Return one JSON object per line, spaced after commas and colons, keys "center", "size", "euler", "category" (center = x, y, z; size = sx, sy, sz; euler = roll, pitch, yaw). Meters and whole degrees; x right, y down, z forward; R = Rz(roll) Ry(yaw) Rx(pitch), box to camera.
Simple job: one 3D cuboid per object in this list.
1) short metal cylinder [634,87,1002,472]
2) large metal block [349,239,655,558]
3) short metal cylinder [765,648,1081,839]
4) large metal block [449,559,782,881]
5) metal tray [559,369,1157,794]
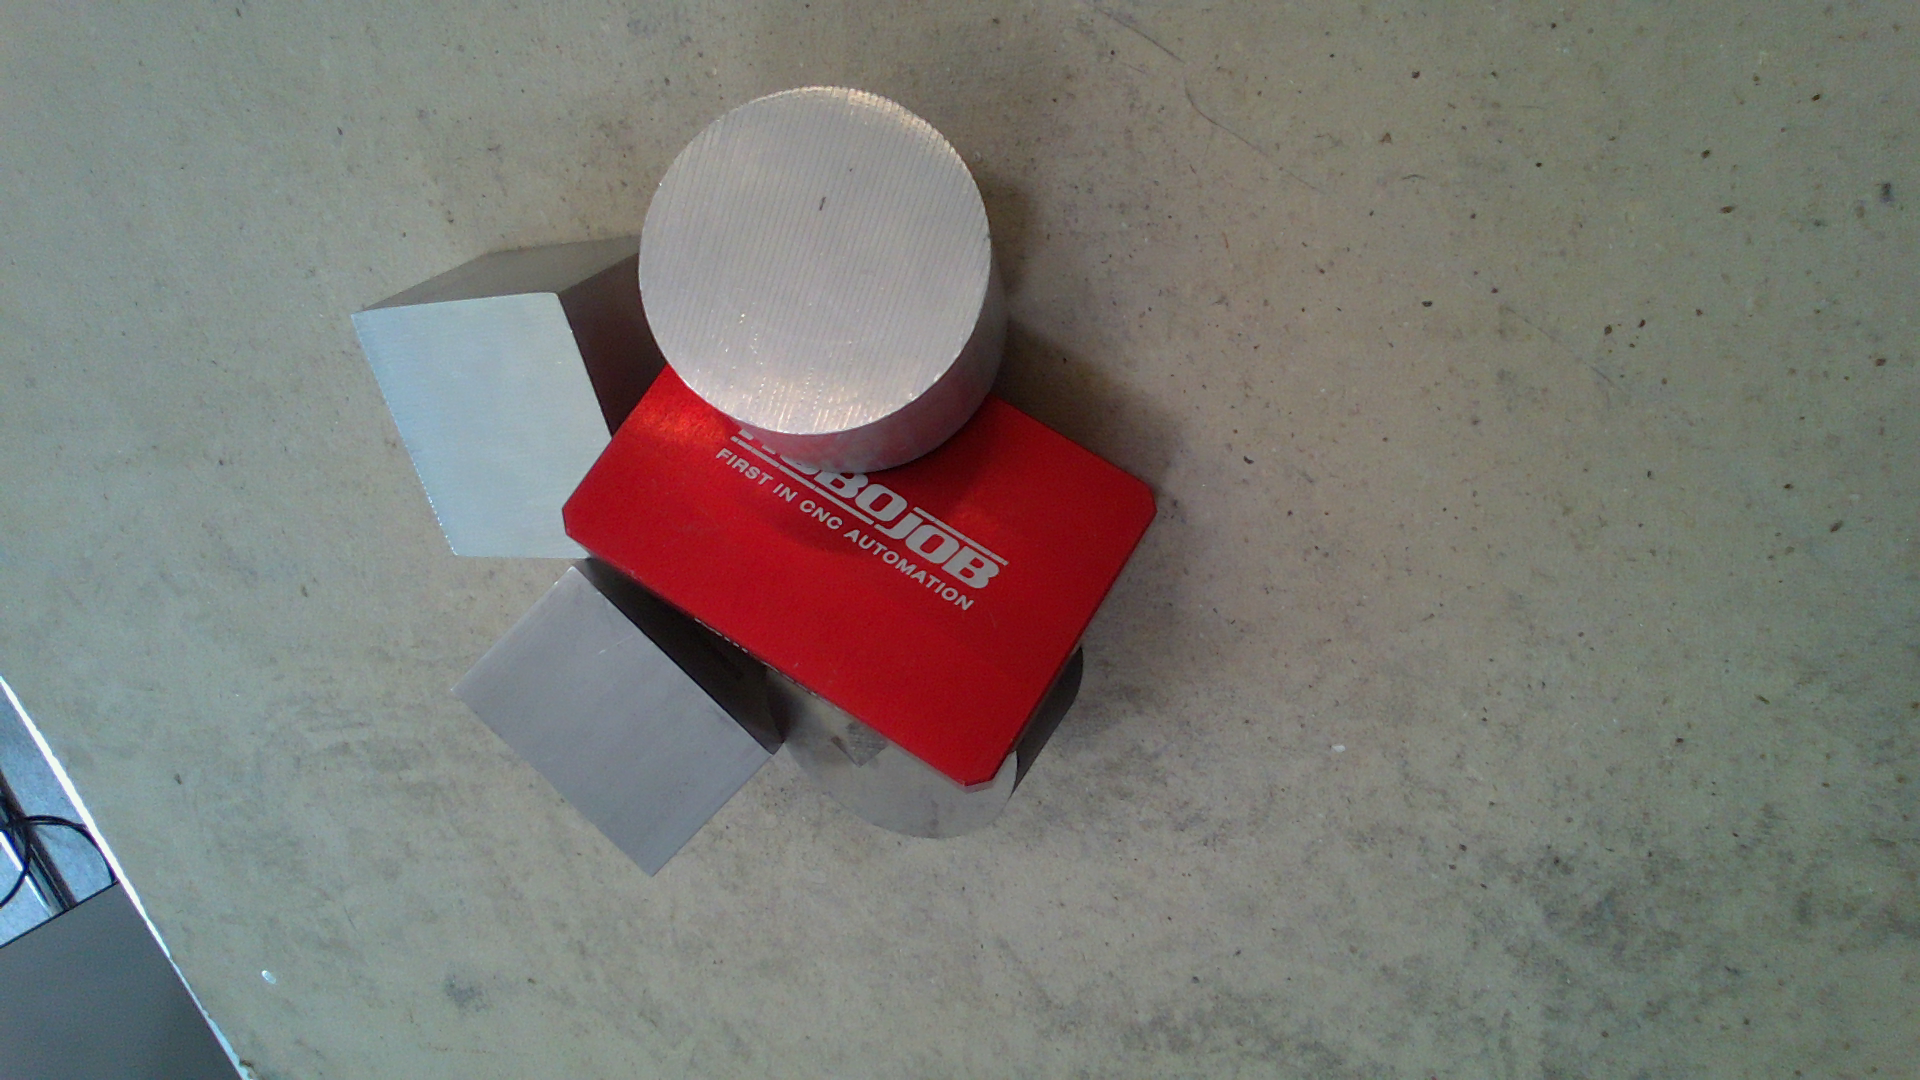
{"center": [-0.031, -0.060, 0.331], "size": [0.080, 0.050, 0.080], "euler": [-1, 84, 6], "category": "short metal cylinder"}
{"center": [-0.121, -0.042, 0.414], "size": [0.080, 0.050, 0.080], "euler": [1, 119, 28], "category": "large metal block"}
{"center": [-0.010, 0.041, 0.409], "size": [0.080, 0.050, 0.080], "euler": [13, 124, 21], "category": "short metal cylinder"}
{"center": [-0.099, 0.049, 0.432], "size": [0.080, 0.080, 0.050], "euler": [44, 94, -3], "category": "large metal block"}
{"center": [-0.026, -0.004, 0.364], "size": [0.130, 0.090, 0.030], "euler": [31, 168, 8], "category": "metal tray"}
